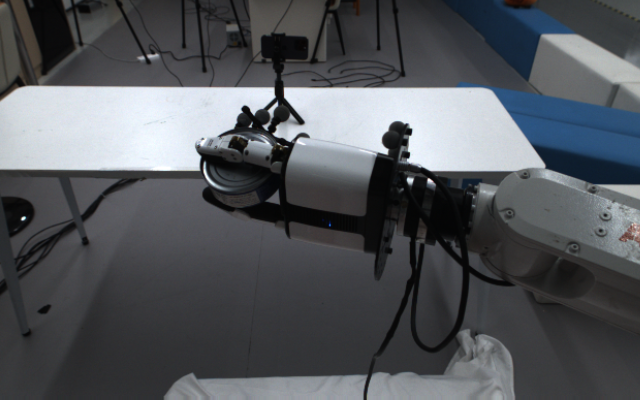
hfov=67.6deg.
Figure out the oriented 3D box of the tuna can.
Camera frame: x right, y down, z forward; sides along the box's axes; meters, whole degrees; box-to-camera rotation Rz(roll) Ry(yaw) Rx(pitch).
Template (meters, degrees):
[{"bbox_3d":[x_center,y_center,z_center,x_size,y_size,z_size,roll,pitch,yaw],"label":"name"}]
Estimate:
[{"bbox_3d":[-0.081,-0.037,0.522,0.085,0.034,0.085,-4,56,6],"label":"tuna can"}]
